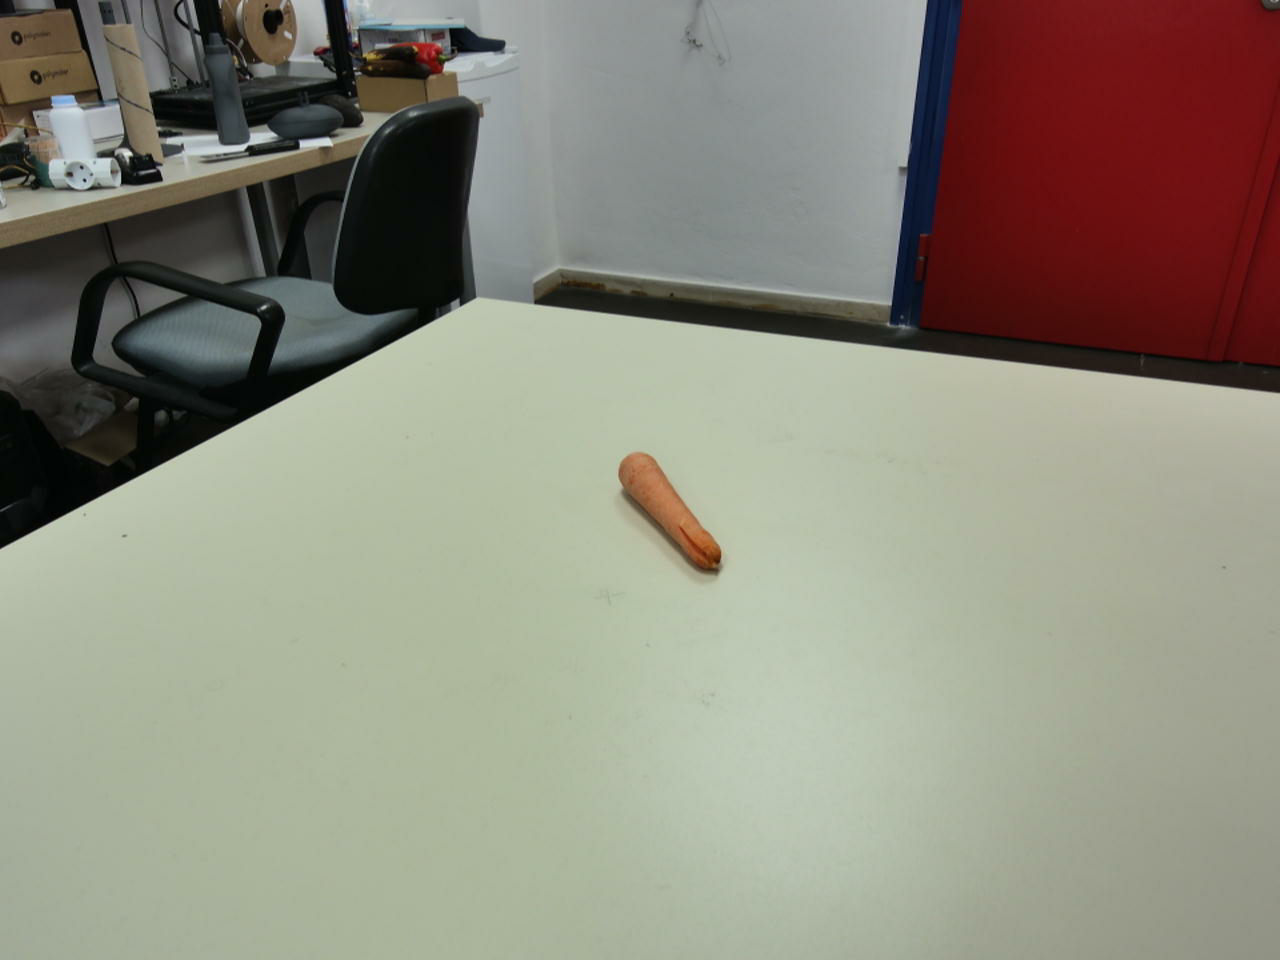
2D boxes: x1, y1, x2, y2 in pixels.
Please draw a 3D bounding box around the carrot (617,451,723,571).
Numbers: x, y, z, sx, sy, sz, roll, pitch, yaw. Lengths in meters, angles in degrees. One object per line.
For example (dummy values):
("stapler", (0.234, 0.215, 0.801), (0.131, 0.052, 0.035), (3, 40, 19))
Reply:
("carrot", (0.017, 0.016, 0.647), (0.030, 0.032, 0.136), (-10, 27, -19))
